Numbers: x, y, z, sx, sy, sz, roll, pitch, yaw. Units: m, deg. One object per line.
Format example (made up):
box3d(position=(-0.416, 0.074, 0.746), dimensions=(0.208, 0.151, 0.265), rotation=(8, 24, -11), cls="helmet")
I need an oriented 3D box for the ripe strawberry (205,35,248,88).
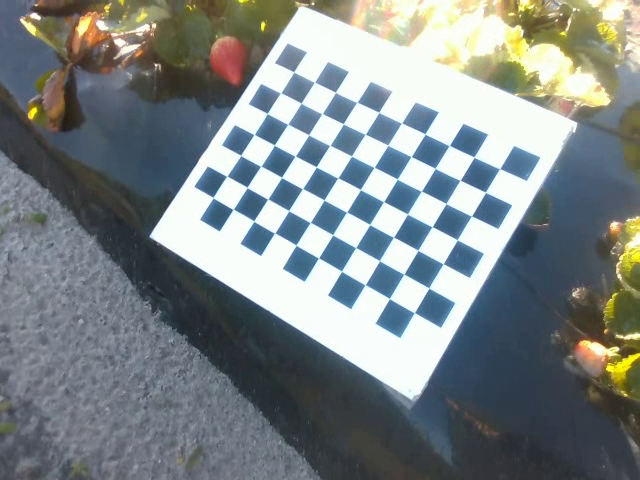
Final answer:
box3d(position=(-0.104, -0.195, 0.713), dimensions=(0.040, 0.065, 0.040), rotation=(-19, -20, 4), cls="ripe strawberry")
